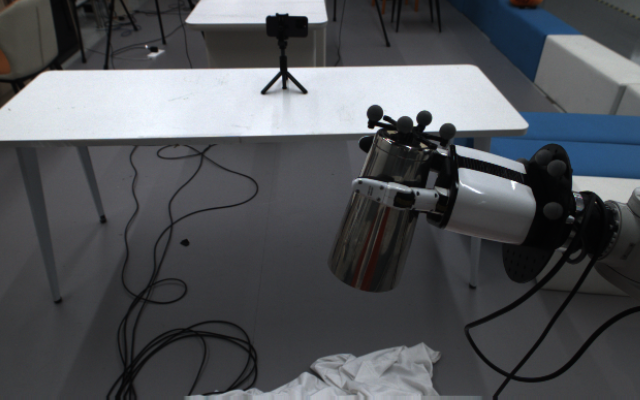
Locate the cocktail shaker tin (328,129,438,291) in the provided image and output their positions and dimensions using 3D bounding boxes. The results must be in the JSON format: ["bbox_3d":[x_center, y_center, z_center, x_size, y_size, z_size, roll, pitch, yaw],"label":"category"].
[{"bbox_3d":[0.077,0.007,0.558,0.093,0.170,0.093,12,25,-6],"label":"cocktail shaker tin"}]
